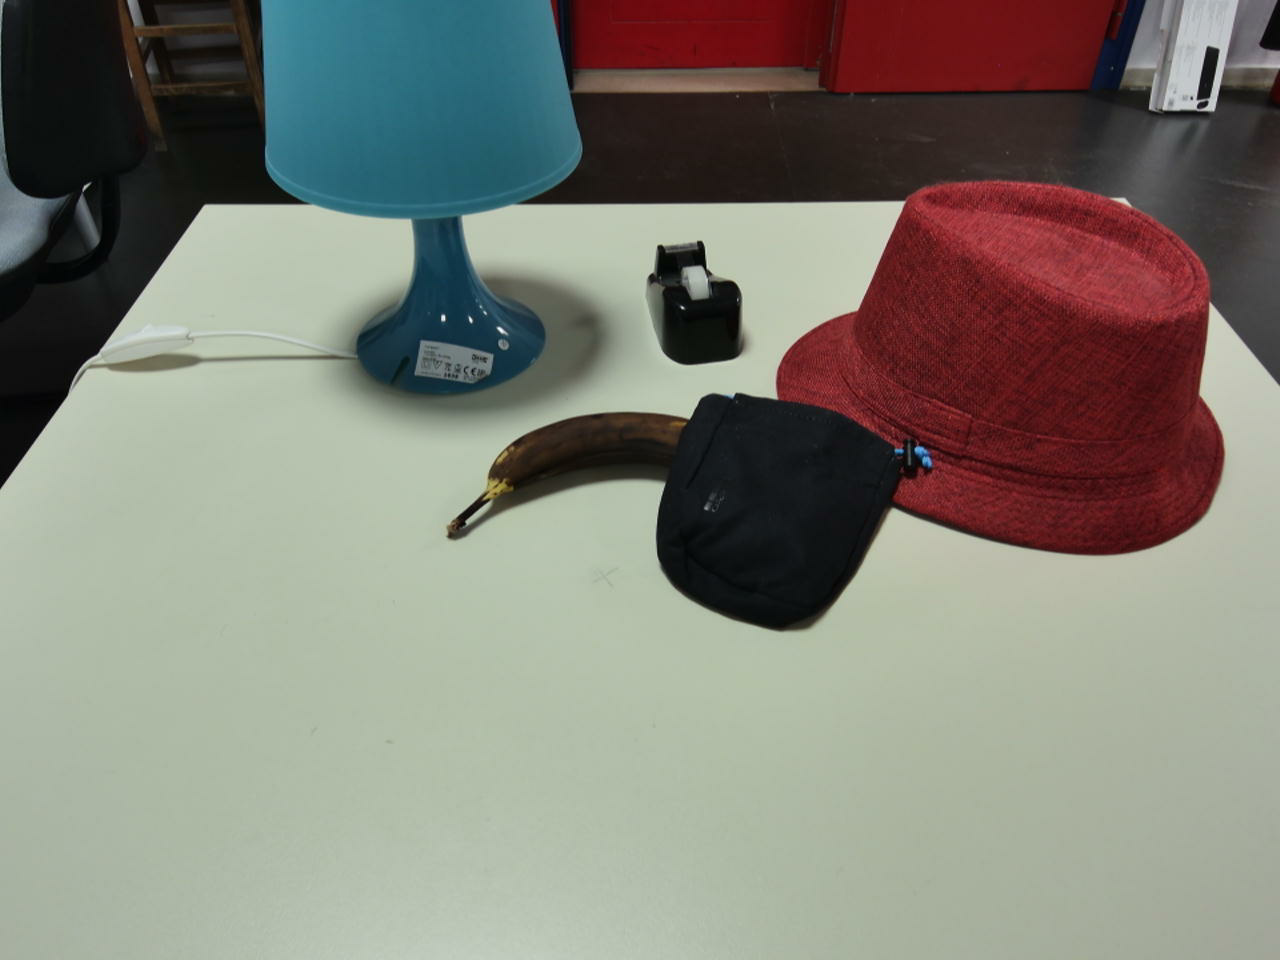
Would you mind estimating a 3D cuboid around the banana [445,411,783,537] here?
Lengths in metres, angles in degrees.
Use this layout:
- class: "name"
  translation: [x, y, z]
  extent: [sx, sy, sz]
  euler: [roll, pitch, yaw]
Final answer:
- class: "banana"
  translation: [-0.013, -0.009, 0.583]
  extent: [0.188, 0.034, 0.091]
  euler: [0, 39, 1]
